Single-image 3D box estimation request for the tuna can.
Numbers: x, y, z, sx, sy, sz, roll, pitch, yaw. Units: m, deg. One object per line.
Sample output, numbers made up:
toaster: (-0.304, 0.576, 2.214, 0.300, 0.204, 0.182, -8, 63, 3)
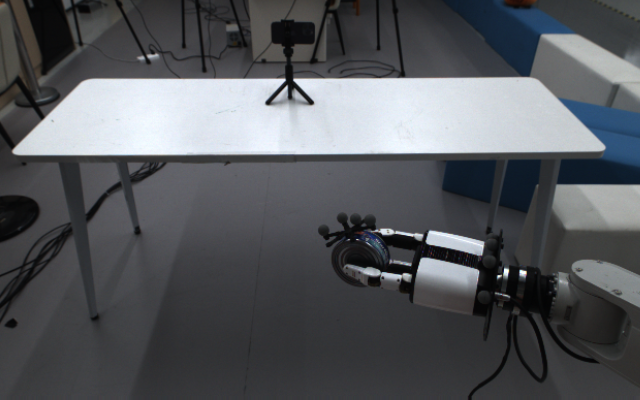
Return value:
tuna can: (0.065, 0.096, 0.735, 0.085, 0.085, 0.034, 15, 30, 18)
